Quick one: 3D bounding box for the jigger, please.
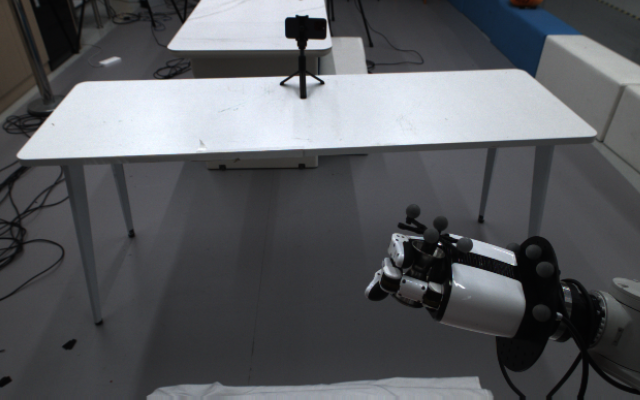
[{"bbox_3d":[0.116,0.086,0.569,0.043,0.071,0.043,18,17,-6],"label":"jigger"}]
